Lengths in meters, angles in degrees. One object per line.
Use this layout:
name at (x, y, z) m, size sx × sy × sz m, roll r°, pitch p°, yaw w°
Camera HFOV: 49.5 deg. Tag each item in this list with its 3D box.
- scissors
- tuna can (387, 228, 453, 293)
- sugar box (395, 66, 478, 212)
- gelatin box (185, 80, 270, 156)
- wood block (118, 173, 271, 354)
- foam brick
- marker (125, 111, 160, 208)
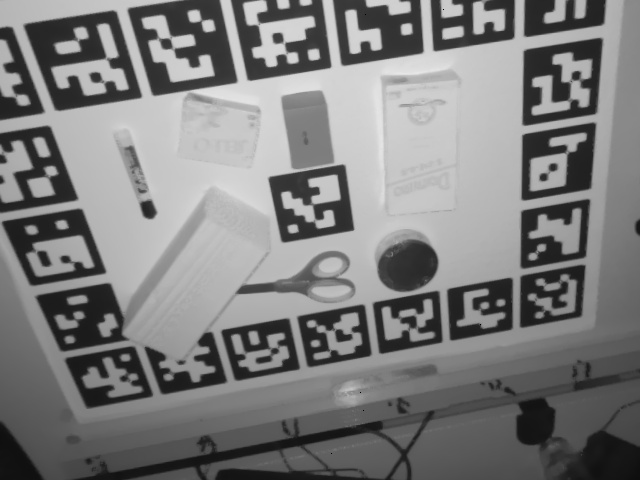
scissors at (-0.038, 0.053, 0.944) m, size 0.204 × 0.016 × 0.087 m, roll -2°, pitch 118°, yaw -8°
tuna can at (0.134, 0.027, 0.938) m, size 0.086 × 0.034 × 0.085 m, roll -3°, pitch 117°, yaw -5°
sugar box at (0.140, -0.122, 0.858) m, size 0.093 × 0.045 × 0.175 m, roll -4°, pitch 118°, yaw -3°
gelatin box at (-0.110, -0.144, 0.823) m, size 0.090 × 0.030 × 0.072 m, roll 8°, pitch 116°, yaw -11°
wood block at (-0.159, 0.031, 0.879) m, size 0.090 × 0.091 × 0.204 m, roll 32°, pitch 111°, yaw -22°
foam brick at (-0.005, -0.143, 0.819) m, size 0.053 × 0.051 × 0.077 m, roll -7°, pitch 118°, yaw -3°
marker at (-0.214, -0.095, 0.840) m, size 0.020 × 0.020 × 0.120 m, roll -7°, pitch 116°, yaw -2°
